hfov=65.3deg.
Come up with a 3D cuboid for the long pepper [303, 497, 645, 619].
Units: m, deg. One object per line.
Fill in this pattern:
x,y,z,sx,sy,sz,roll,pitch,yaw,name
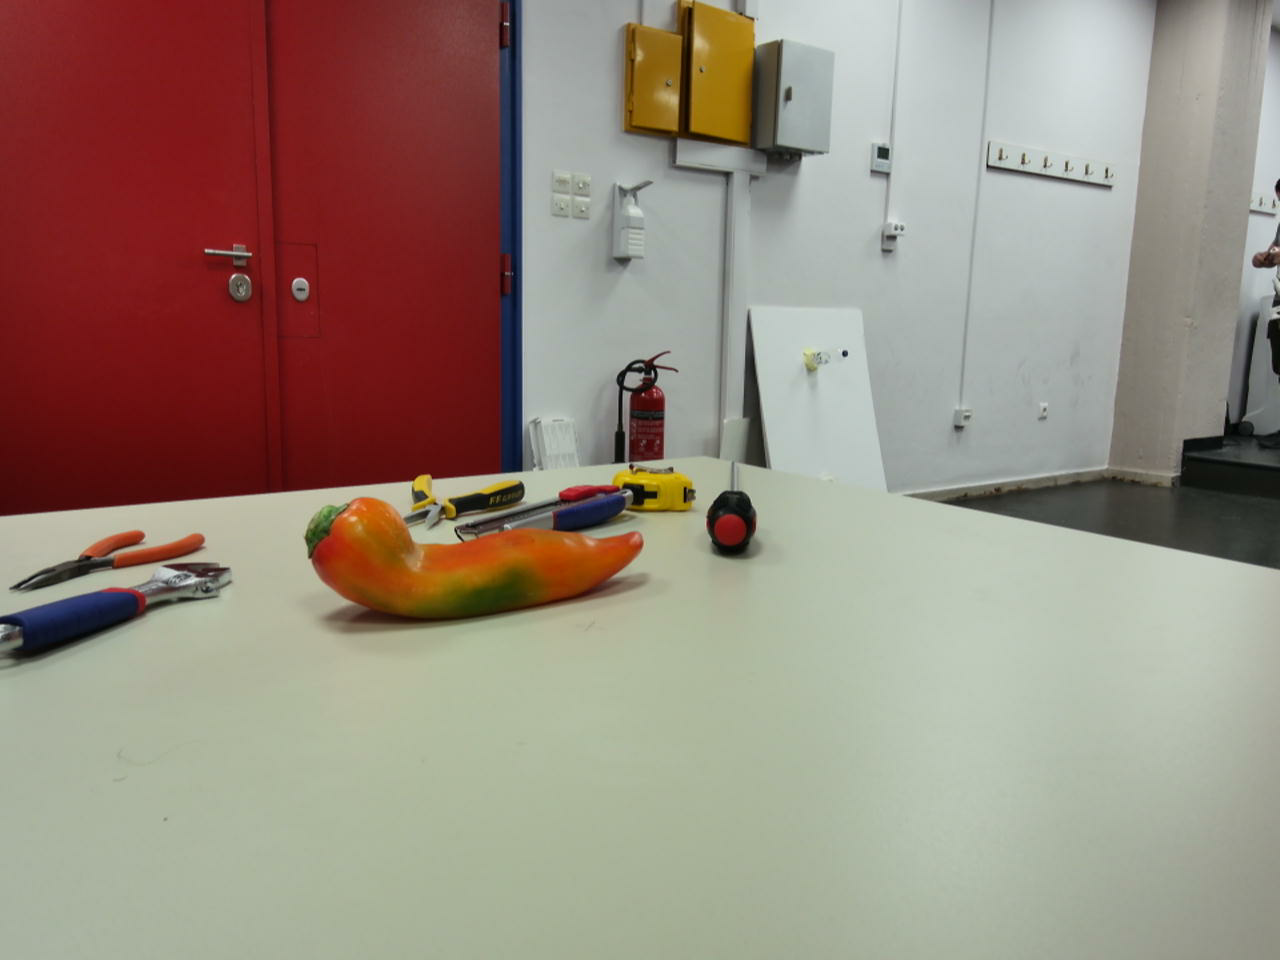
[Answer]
-0.080,0.036,0.550,0.199,0.065,0.066,-4,9,-31,long pepper
